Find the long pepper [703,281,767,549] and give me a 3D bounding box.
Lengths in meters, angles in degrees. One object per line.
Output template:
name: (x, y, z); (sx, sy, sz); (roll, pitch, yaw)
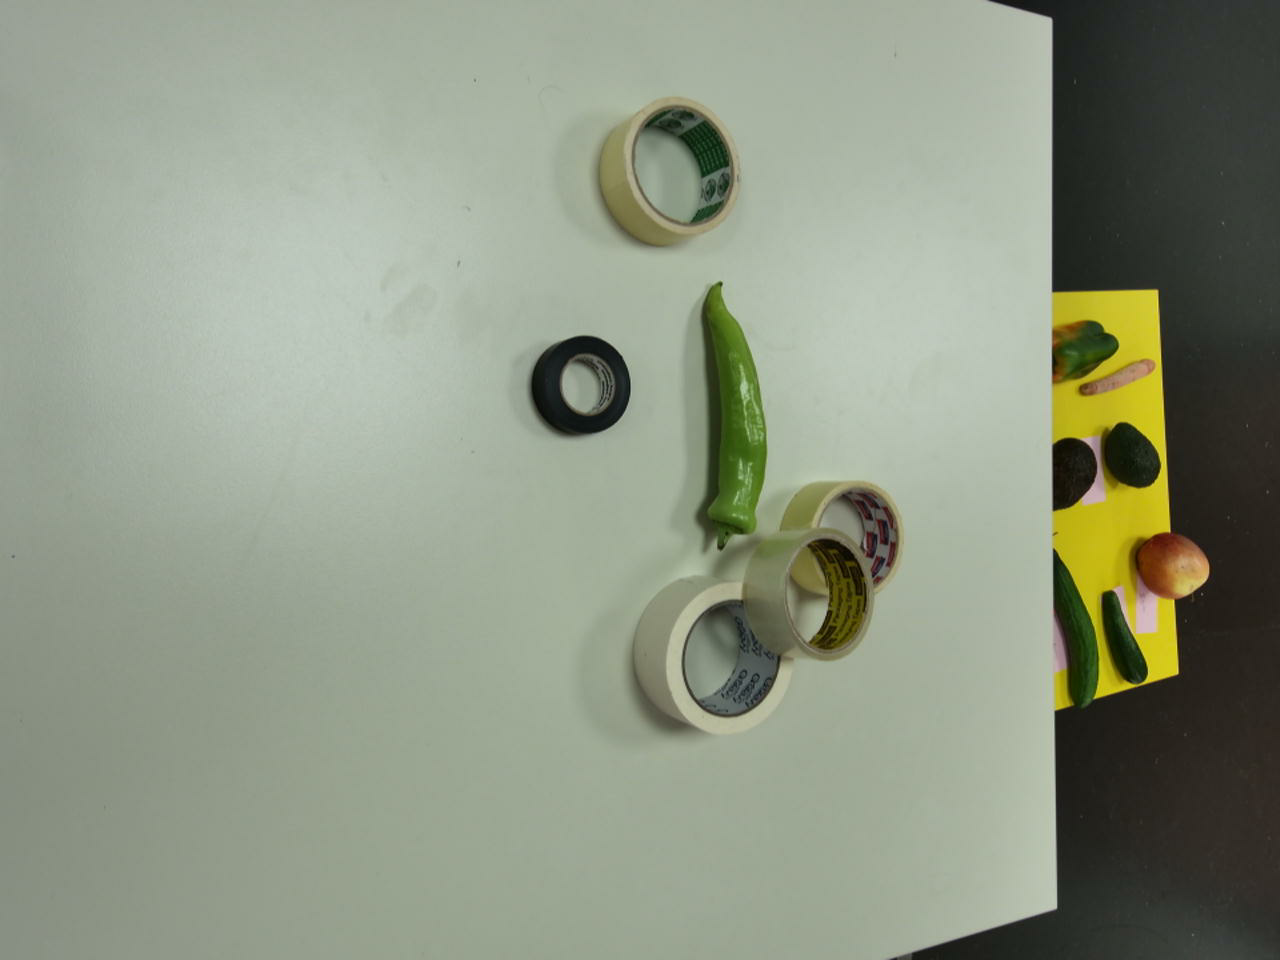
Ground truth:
long pepper: (0.071, -0.047, 0.725); (0.046, 0.038, 0.197); (2, 90, -28)
